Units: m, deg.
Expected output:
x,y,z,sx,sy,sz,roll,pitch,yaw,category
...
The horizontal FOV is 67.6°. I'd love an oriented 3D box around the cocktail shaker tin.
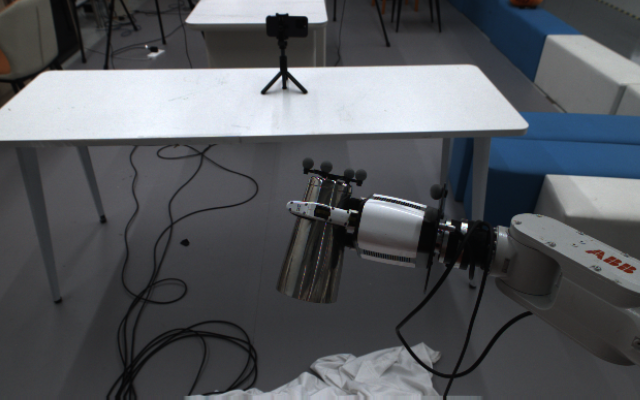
x,y,z,sx,sy,sz,roll,pitch,yaw,category
0.001,0.053,0.712,0.093,0.170,0.093,13,1,0,cocktail shaker tin
